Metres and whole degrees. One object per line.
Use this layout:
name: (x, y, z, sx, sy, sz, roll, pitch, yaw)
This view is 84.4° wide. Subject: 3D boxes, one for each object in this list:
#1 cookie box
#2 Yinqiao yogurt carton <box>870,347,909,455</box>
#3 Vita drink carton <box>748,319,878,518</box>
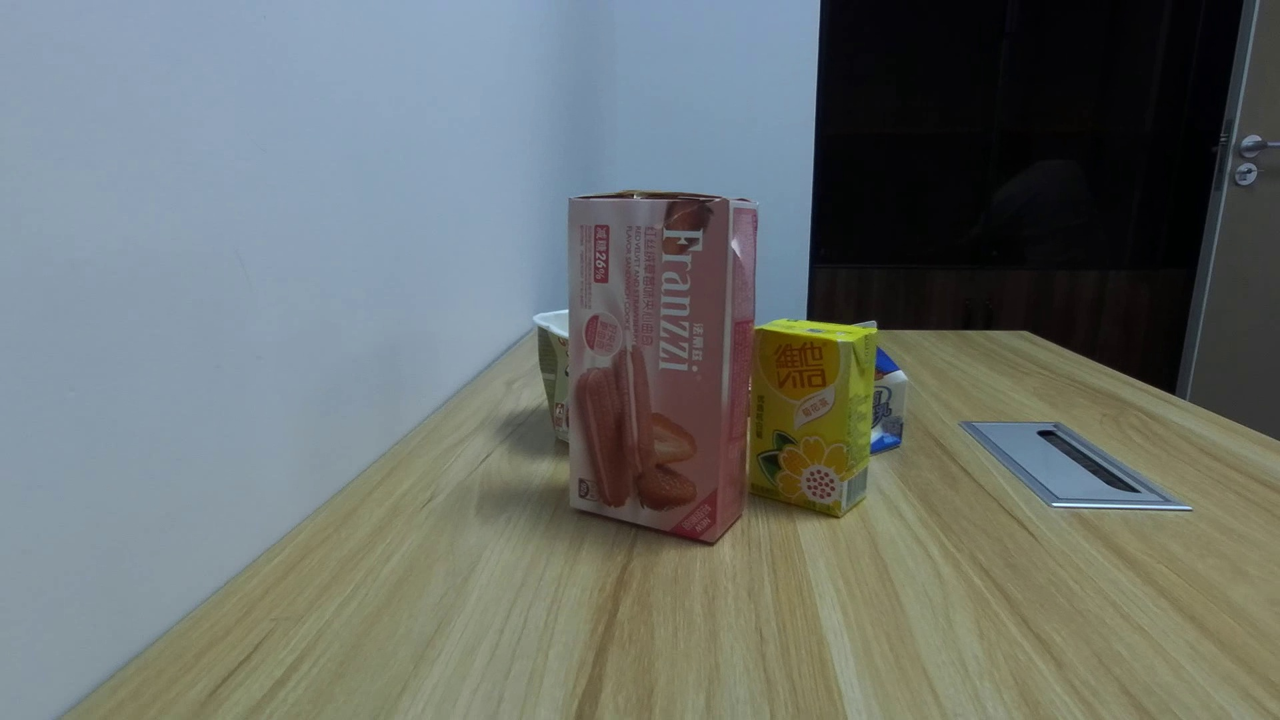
cookie box: (0.015, 0.001, 0.399, 0.105, 0.187, 0.049, 7, 15, 28)
Yinqiao yogurt carton: (0.148, 0.019, 0.524, 0.078, 0.094, 0.070, -11, 23, -32)
Vita drink carton: (0.103, 0.033, 0.432, 0.066, 0.109, 0.044, 10, 17, 35)
